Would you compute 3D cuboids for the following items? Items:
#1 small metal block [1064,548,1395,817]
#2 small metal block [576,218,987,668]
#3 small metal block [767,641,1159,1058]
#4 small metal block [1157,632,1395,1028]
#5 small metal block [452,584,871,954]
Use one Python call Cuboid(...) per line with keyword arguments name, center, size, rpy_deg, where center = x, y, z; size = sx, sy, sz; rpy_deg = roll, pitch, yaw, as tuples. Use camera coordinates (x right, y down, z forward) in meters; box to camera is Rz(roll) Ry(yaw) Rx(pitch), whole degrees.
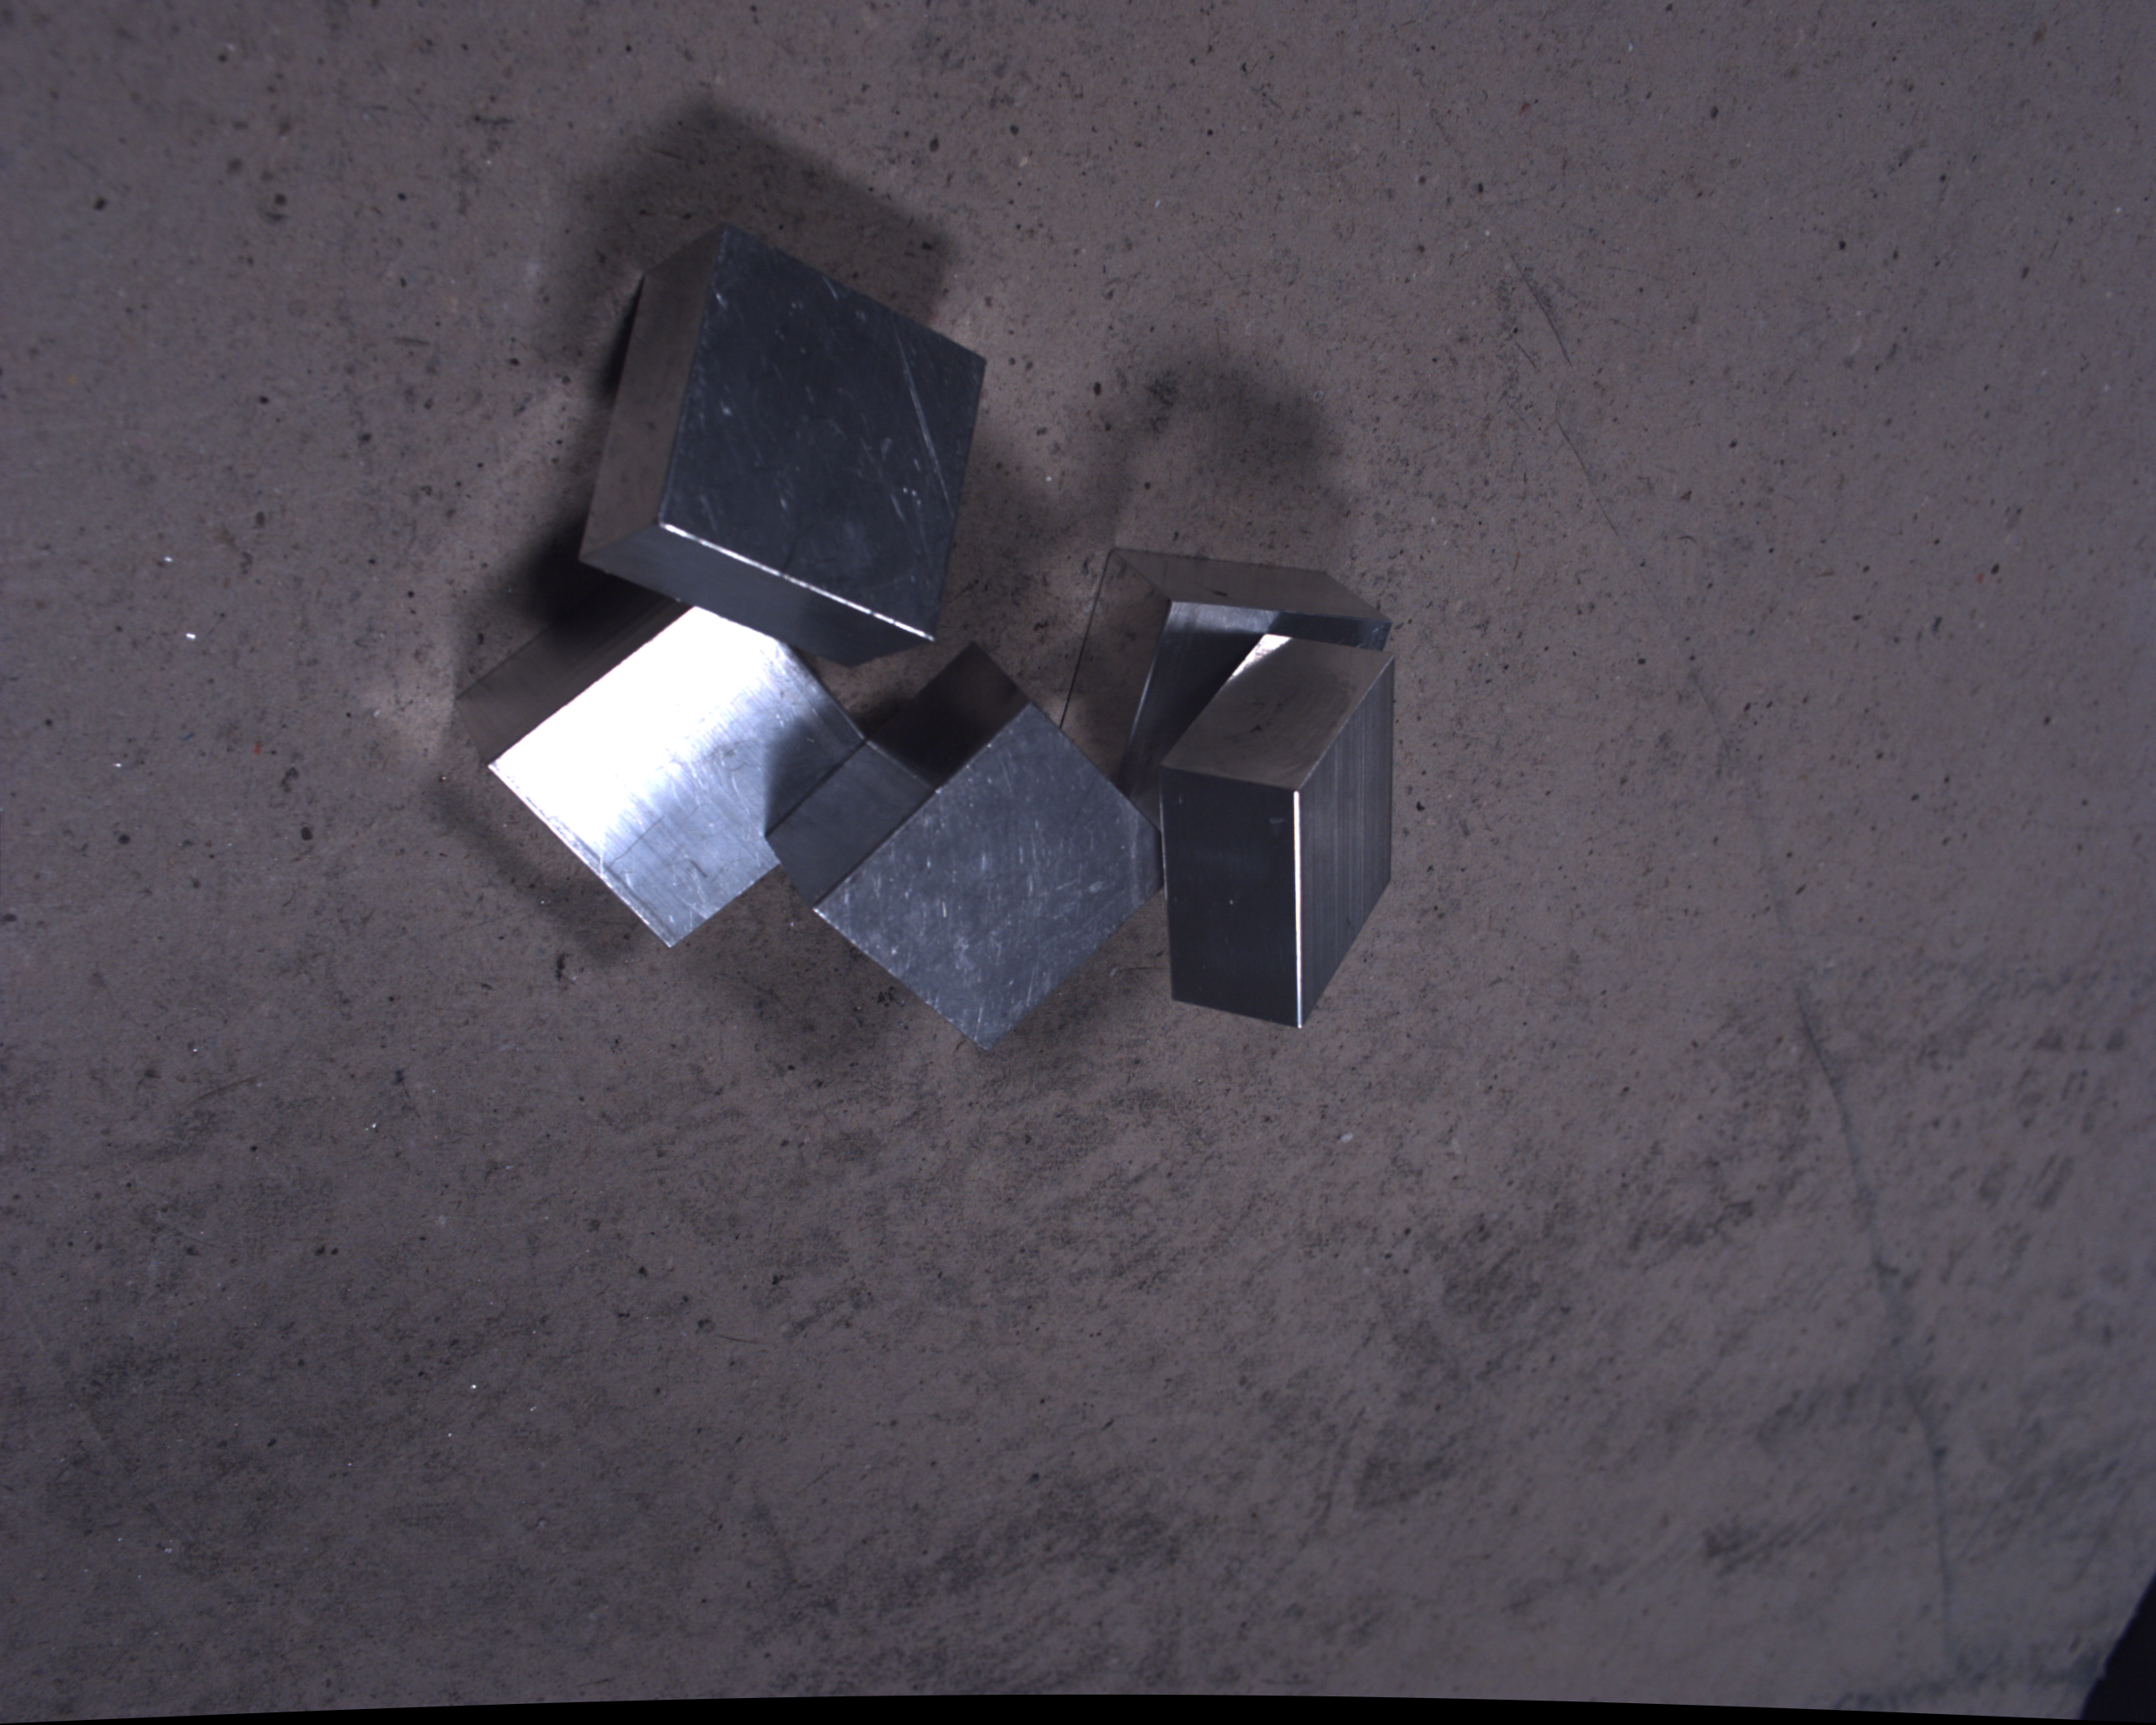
Cuboid(name="small metal block", center=(0.027, -0.031, 0.406), size=(0.050, 0.025, 0.050), rpy_deg=(2, 118, -30))
Cuboid(name="small metal block", center=(-0.046, -0.064, 0.330), size=(0.050, 0.025, 0.050), rpy_deg=(20, 71, -36))
Cuboid(name="small metal block", center=(-0.016, -0.002, 0.366), size=(0.050, 0.025, 0.050), rpy_deg=(-44, 130, 2))
Cuboid(name="small metal block", center=(0.037, -0.007, 0.377), size=(0.050, 0.025, 0.050), rpy_deg=(-51, 145, -48))
Cuboid(name="small metal block", center=(-0.069, -0.021, 0.358), size=(0.050, 0.025, 0.050), rpy_deg=(-38, 130, -3))
